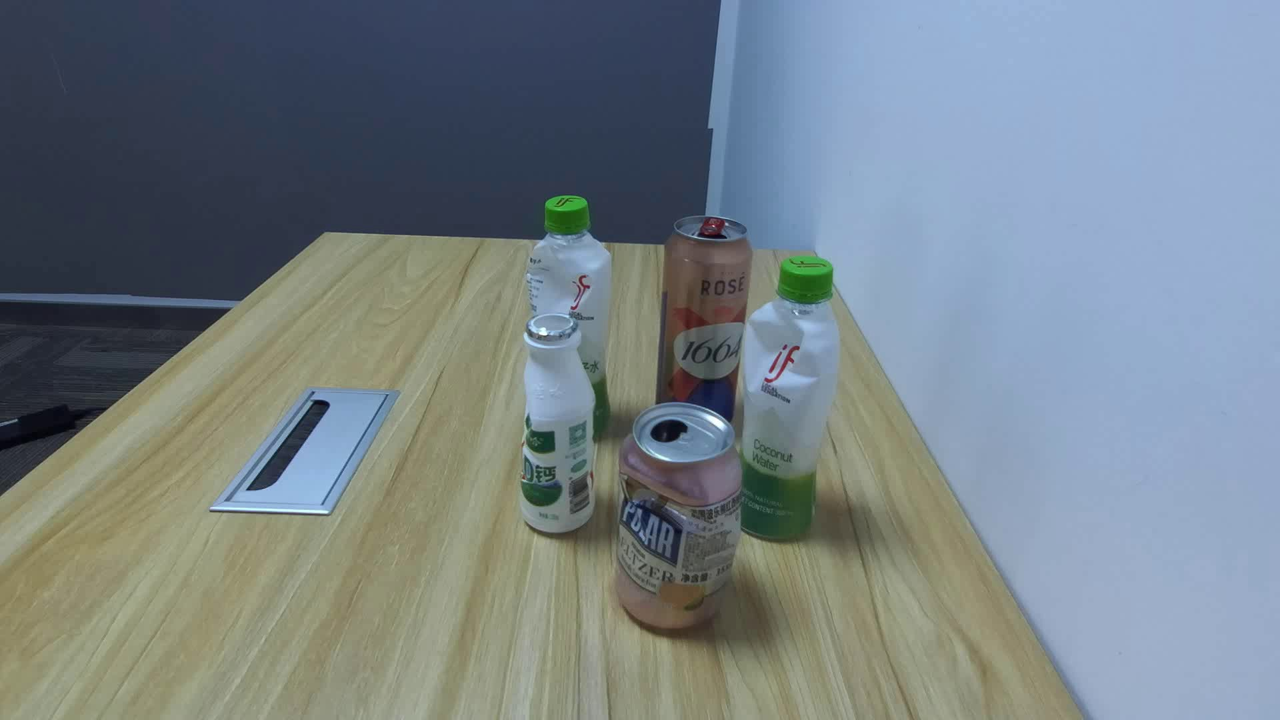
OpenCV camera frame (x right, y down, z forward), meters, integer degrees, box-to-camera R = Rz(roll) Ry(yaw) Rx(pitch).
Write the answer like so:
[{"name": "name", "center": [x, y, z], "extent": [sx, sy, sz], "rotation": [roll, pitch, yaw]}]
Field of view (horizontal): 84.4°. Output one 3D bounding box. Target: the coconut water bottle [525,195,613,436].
[{"name": "coconut water bottle", "center": [-0.051, -0.030, 0.539], "extent": [0.069, 0.187, 0.069], "rotation": [2, 27, -1]}]

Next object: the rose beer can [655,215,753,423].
[{"name": "rose beer can", "center": [0.050, -0.023, 0.560], "extent": [0.068, 0.169, 0.068], "rotation": [1, 26, 0]}]

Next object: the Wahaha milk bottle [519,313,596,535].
[{"name": "Wahaha milk bottle", "center": [-0.056, 0.042, 0.456], "extent": [0.056, 0.148, 0.056], "rotation": [2, 29, -1]}]

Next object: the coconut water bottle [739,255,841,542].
[{"name": "coconut water bottle", "center": [0.093, 0.026, 0.450], "extent": [0.067, 0.187, 0.067], "rotation": [1, 28, 0]}]

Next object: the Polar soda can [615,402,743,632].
[{"name": "Polar soda can", "center": [0.020, 0.090, 0.404], "extent": [0.067, 0.122, 0.074], "rotation": [1, 31, -4]}]
